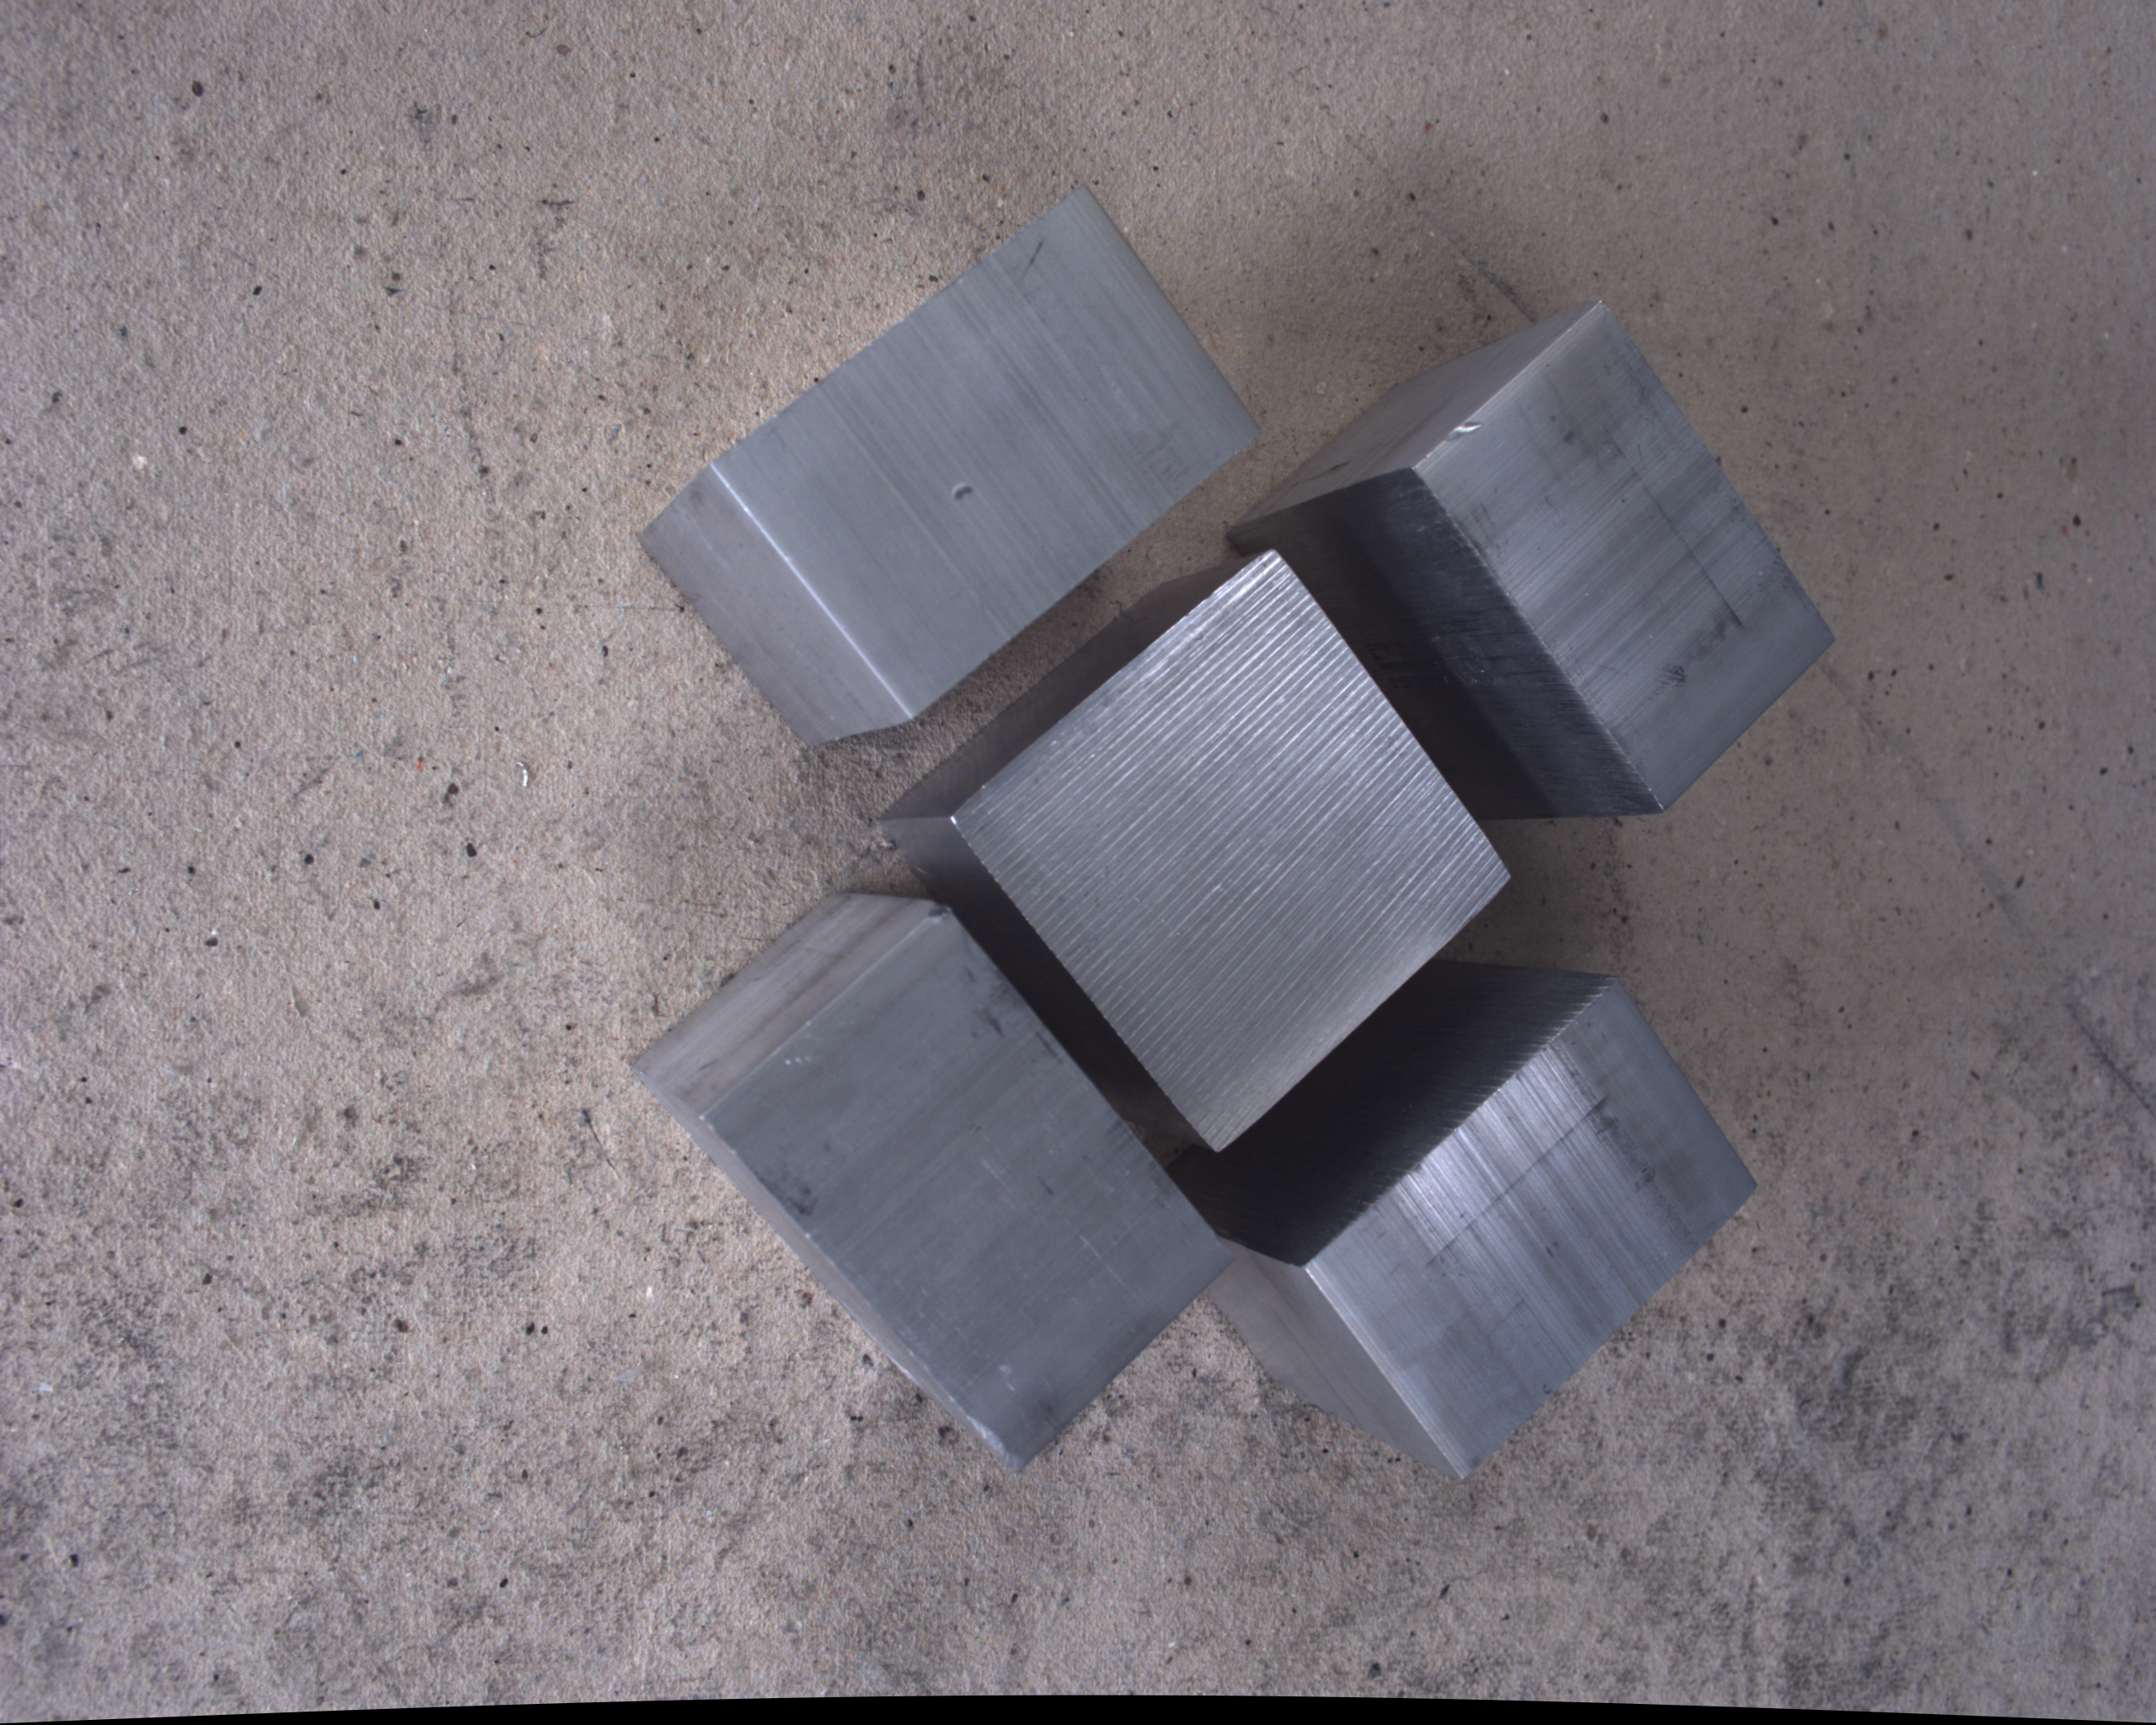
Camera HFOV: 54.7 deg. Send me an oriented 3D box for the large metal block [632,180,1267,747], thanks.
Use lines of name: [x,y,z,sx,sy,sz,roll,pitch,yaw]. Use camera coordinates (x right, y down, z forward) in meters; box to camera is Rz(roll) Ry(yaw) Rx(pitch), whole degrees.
large metal block: [-0.026,-0.067,0.372,0.080,0.080,0.050,-41,103,-15]

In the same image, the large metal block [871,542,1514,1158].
large metal block: [0.022,-0.003,0.402,0.080,0.050,0.080,-41,103,-15]

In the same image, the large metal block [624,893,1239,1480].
large metal block: [-0.029,0.052,0.370,0.050,0.080,0.080,-42,103,-15]

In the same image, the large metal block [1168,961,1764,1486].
large metal block: [0.068,0.064,0.406,0.080,0.080,0.050,-39,102,-16]

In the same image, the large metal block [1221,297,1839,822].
large metal block: [0.086,-0.055,0.412,0.050,0.080,0.080,-43,104,-15]
